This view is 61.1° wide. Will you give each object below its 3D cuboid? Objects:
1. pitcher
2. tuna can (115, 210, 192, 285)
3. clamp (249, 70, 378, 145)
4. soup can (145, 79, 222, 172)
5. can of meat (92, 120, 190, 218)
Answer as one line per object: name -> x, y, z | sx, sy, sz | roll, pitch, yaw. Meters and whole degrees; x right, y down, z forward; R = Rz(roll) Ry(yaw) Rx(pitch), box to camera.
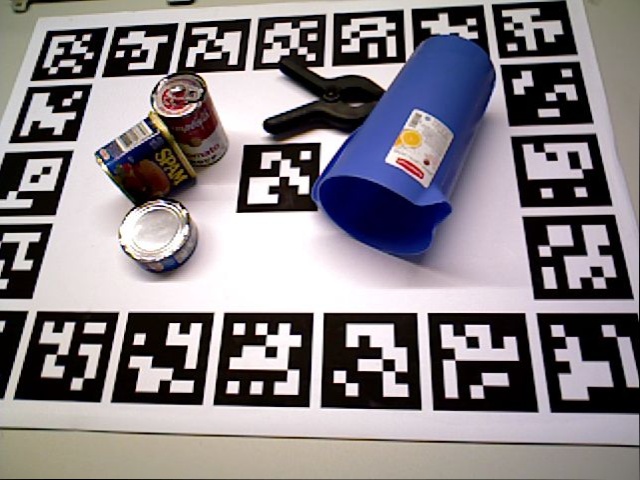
pitcher -> 0.097, -0.106, 0.606 | 0.190, 0.134, 0.238 | 9, 57, 35
tuna can -> -0.197, 0.010, 0.647 | 0.085, 0.034, 0.085 | -3, 67, 6
clamp -> -0.007, -0.176, 0.719 | 0.165, 0.037, 0.120 | 2, 61, 4
soup can -> -0.167, -0.139, 0.676 | 0.068, 0.103, 0.067 | -4, 65, 7
can of meat -> -0.216, -0.079, 0.649 | 0.083, 0.103, 0.057 | -35, 67, -7
